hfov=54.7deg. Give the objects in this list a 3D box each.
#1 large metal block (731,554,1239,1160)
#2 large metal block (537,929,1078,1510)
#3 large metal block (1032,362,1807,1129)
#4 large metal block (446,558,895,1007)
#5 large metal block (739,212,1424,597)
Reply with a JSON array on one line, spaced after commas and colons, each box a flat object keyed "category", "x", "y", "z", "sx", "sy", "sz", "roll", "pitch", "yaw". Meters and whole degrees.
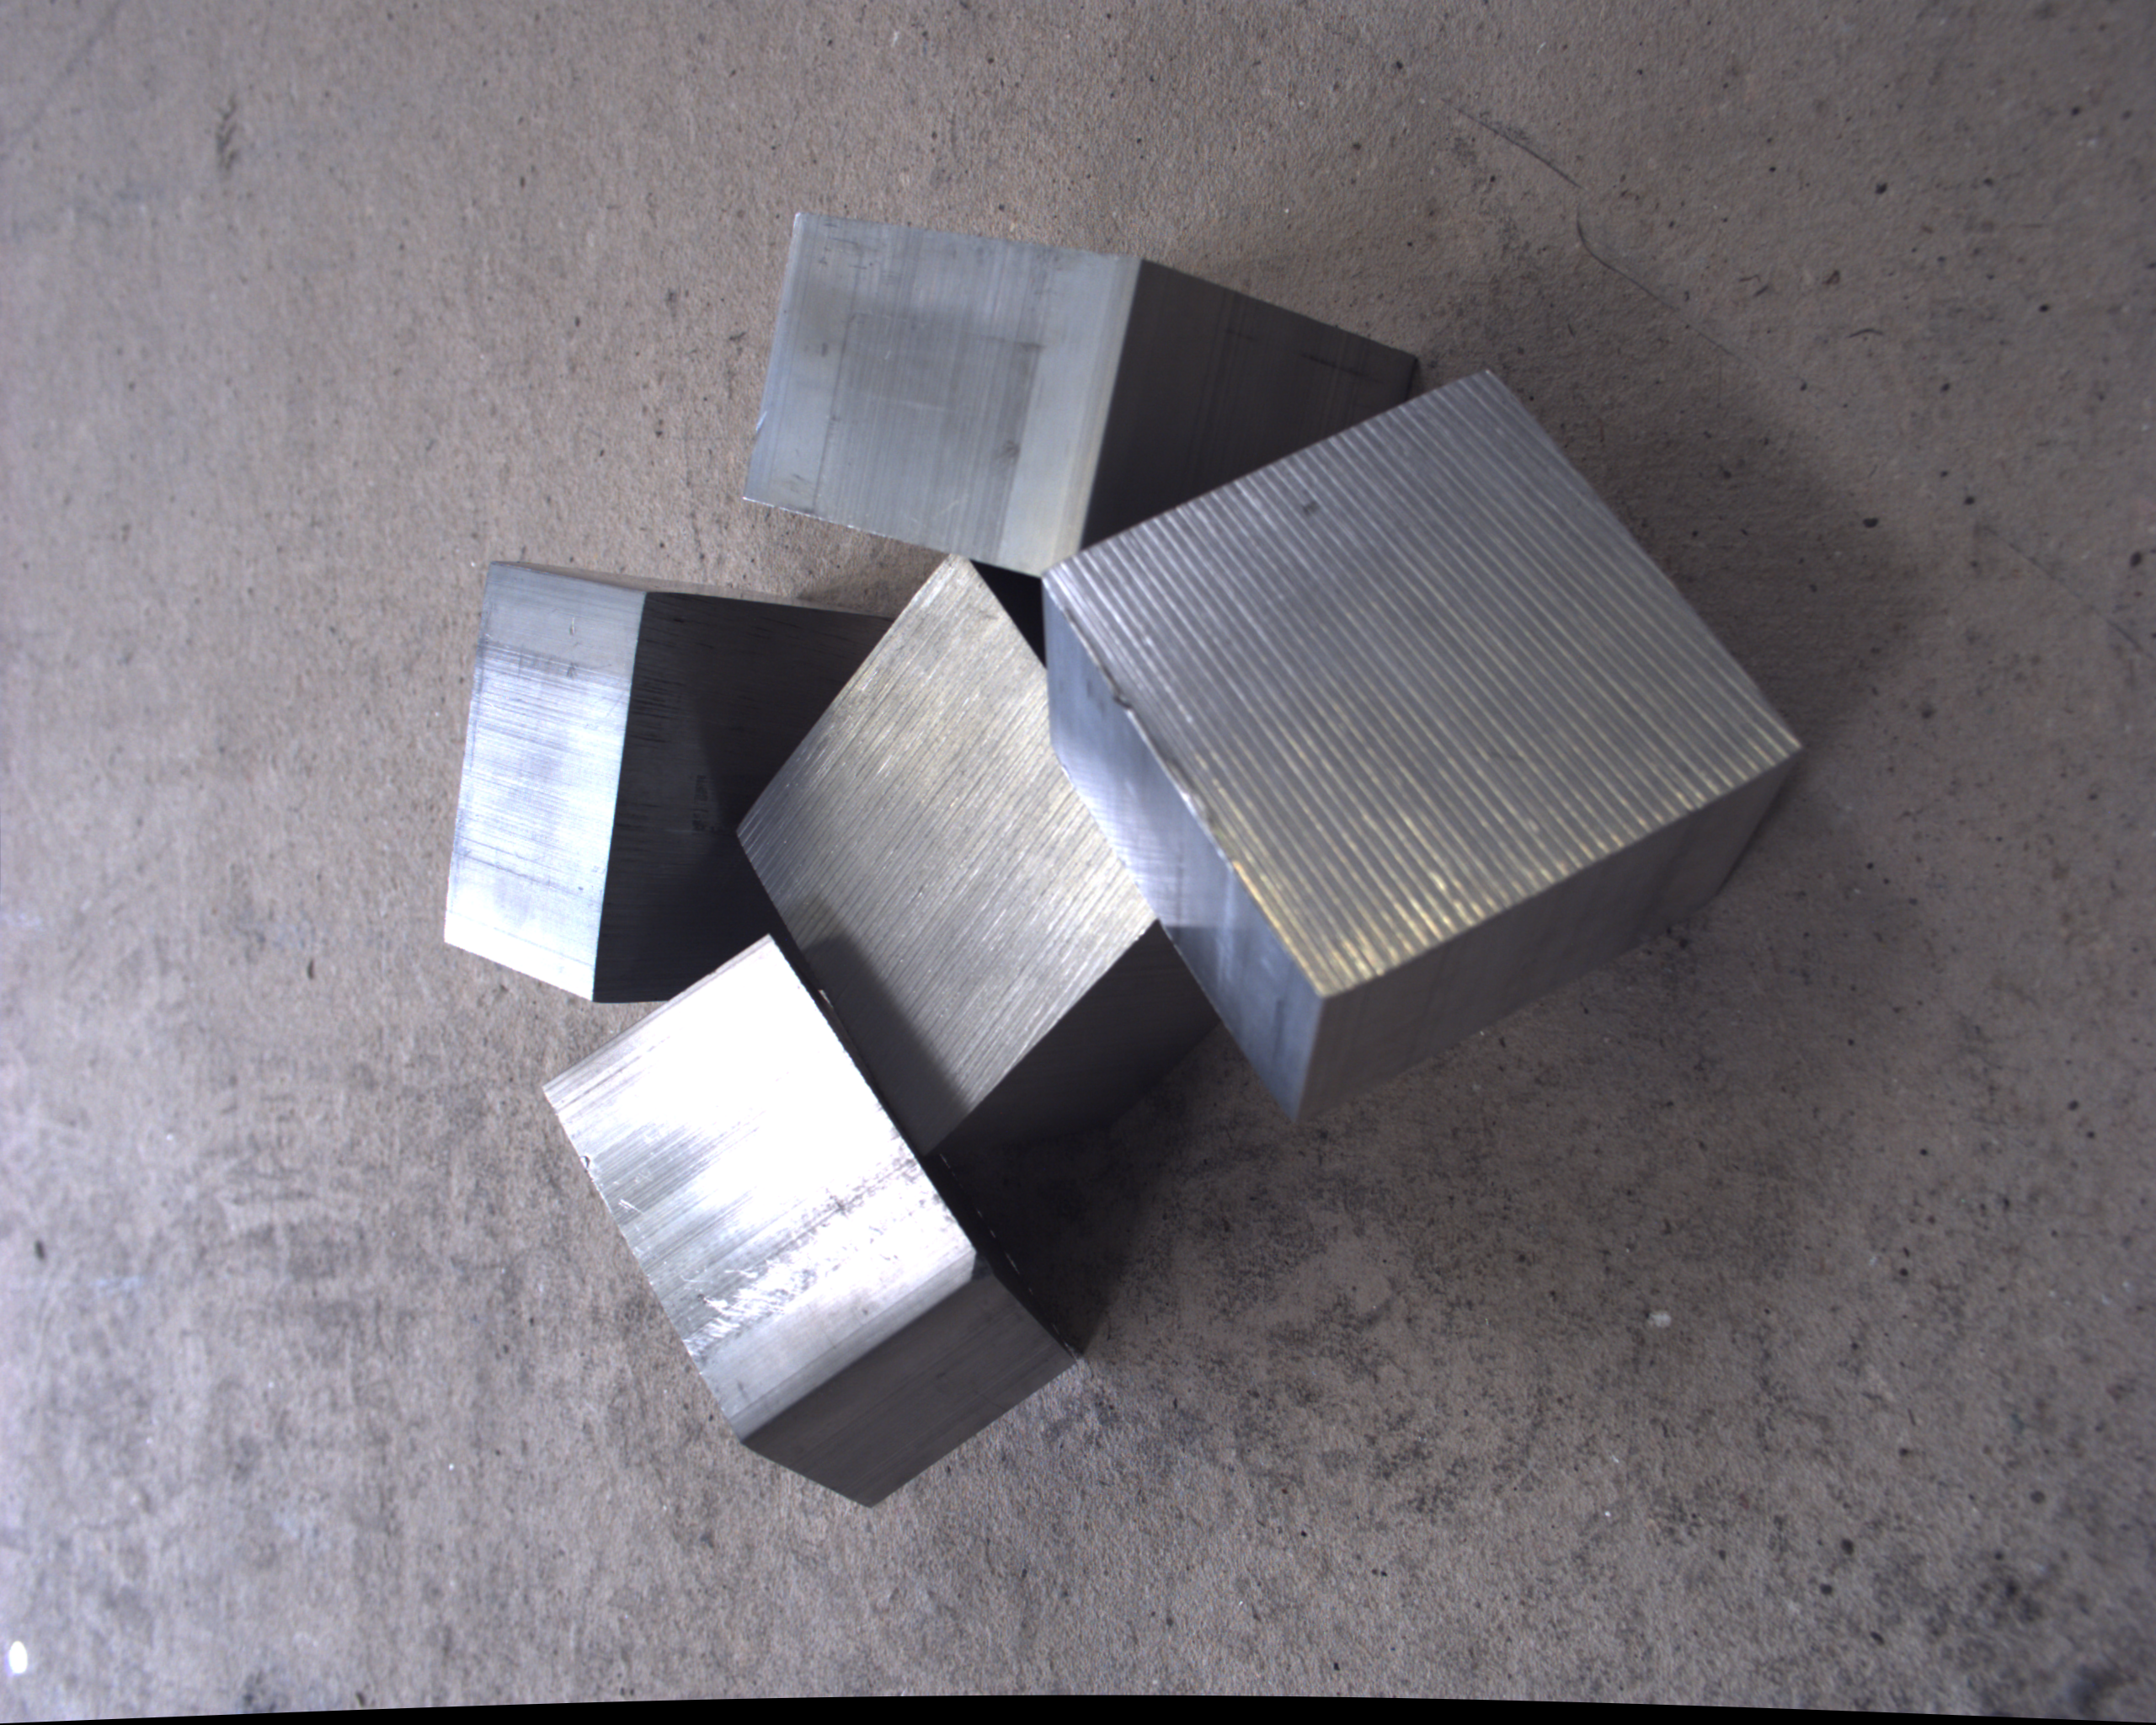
[{"category": "large metal block", "x": -0.009, "y": -0.002, "z": 0.395, "sx": 0.080, "sy": 0.050, "sz": 0.080, "roll": -48, "pitch": 63, "yaw": 29}, {"category": "large metal block", "x": -0.050, "y": 0.071, "z": 0.404, "sx": 0.050, "sy": 0.080, "sz": 0.080, "roll": -34, "pitch": 63, "yaw": -5}, {"category": "large metal block", "x": 0.048, "y": -0.019, "z": 0.323, "sx": 0.080, "sy": 0.080, "sz": 0.050, "roll": 58, "pitch": 167, "yaw": 24}, {"category": "large metal block", "x": -0.079, "y": -0.017, "z": 0.437, "sx": 0.050, "sy": 0.081, "sz": 0.079, "roll": 15, "pitch": 101, "yaw": 39}, {"category": "large metal block", "x": 0.001, "y": -0.077, "z": 0.370, "sx": 0.080, "sy": 0.081, "sz": 0.050, "roll": 20, "pitch": 103, "yaw": 38}]
